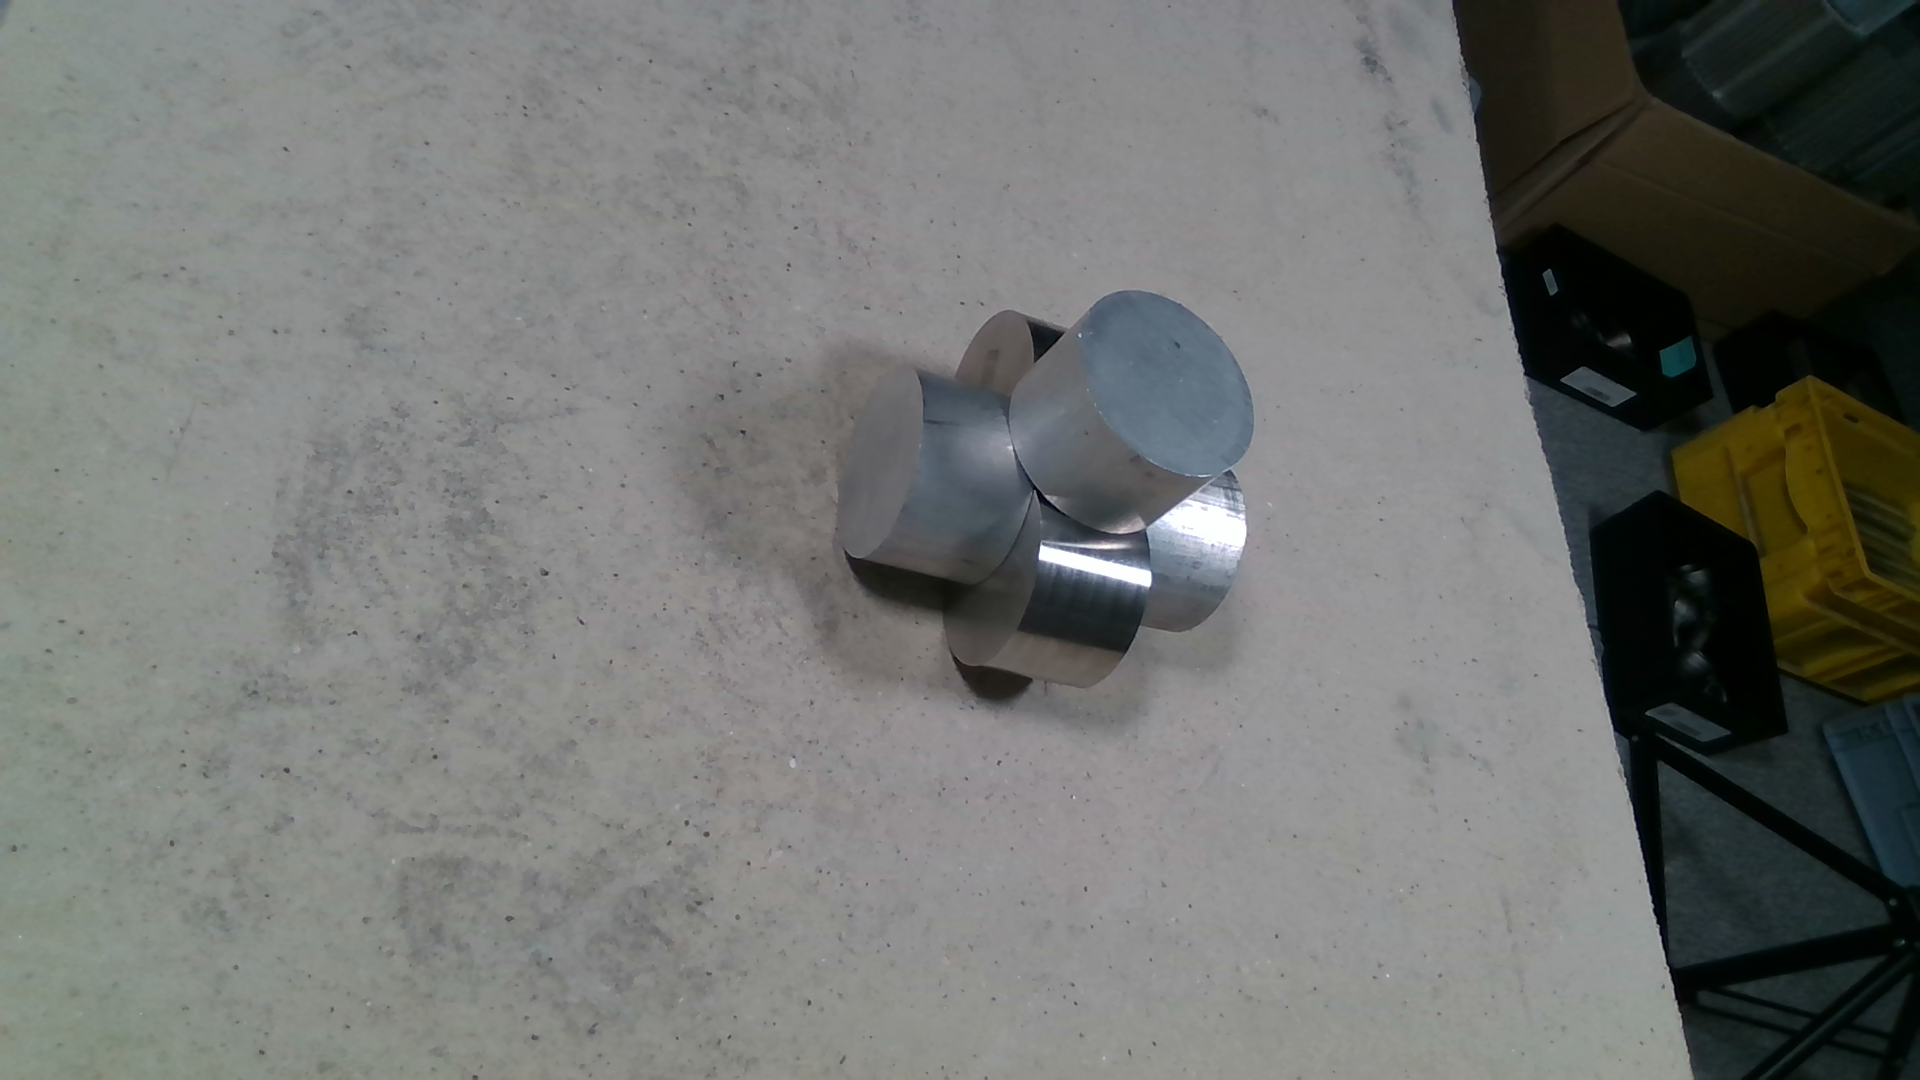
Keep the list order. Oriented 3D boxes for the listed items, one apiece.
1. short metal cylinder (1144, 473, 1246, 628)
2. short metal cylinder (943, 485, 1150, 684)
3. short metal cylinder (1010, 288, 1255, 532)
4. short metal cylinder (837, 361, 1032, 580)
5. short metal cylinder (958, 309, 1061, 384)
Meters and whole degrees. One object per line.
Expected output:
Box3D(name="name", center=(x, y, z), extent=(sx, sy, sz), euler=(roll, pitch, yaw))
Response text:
Box3D(name="short metal cylinder", center=(0.079, -0.004, 0.601), extent=(0.050, 0.080, 0.080), euler=(13, 59, -26))
Box3D(name="short metal cylinder", center=(0.034, 0.016, 0.563), extent=(0.050, 0.080, 0.080), euler=(14, 59, -25))
Box3D(name="short metal cylinder", center=(0.066, -0.050, 0.534), extent=(0.080, 0.050, 0.080), euler=(14, 59, -25))
Box3D(name="short metal cylinder", center=(-0.011, -0.027, 0.558), extent=(0.050, 0.080, 0.080), euler=(14, 59, -25))
Box3D(name="short metal cylinder", center=(0.033, -0.055, 0.601), extent=(0.050, 0.080, 0.080), euler=(13, 59, -25))
